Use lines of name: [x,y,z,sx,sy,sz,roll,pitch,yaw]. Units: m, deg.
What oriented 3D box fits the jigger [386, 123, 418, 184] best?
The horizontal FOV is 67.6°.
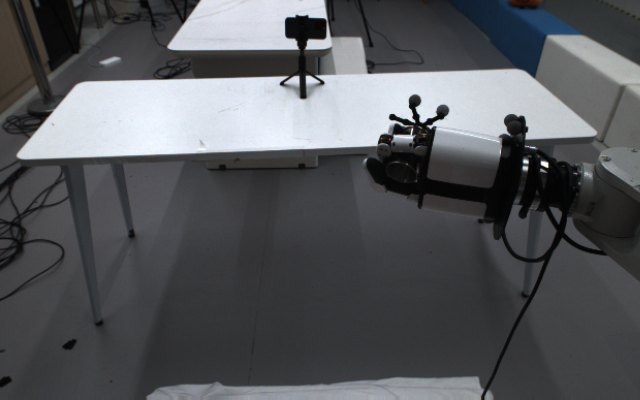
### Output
jigger: [0.120,-0.066,0.650,0.043,0.043,0.071,15,58,18]
